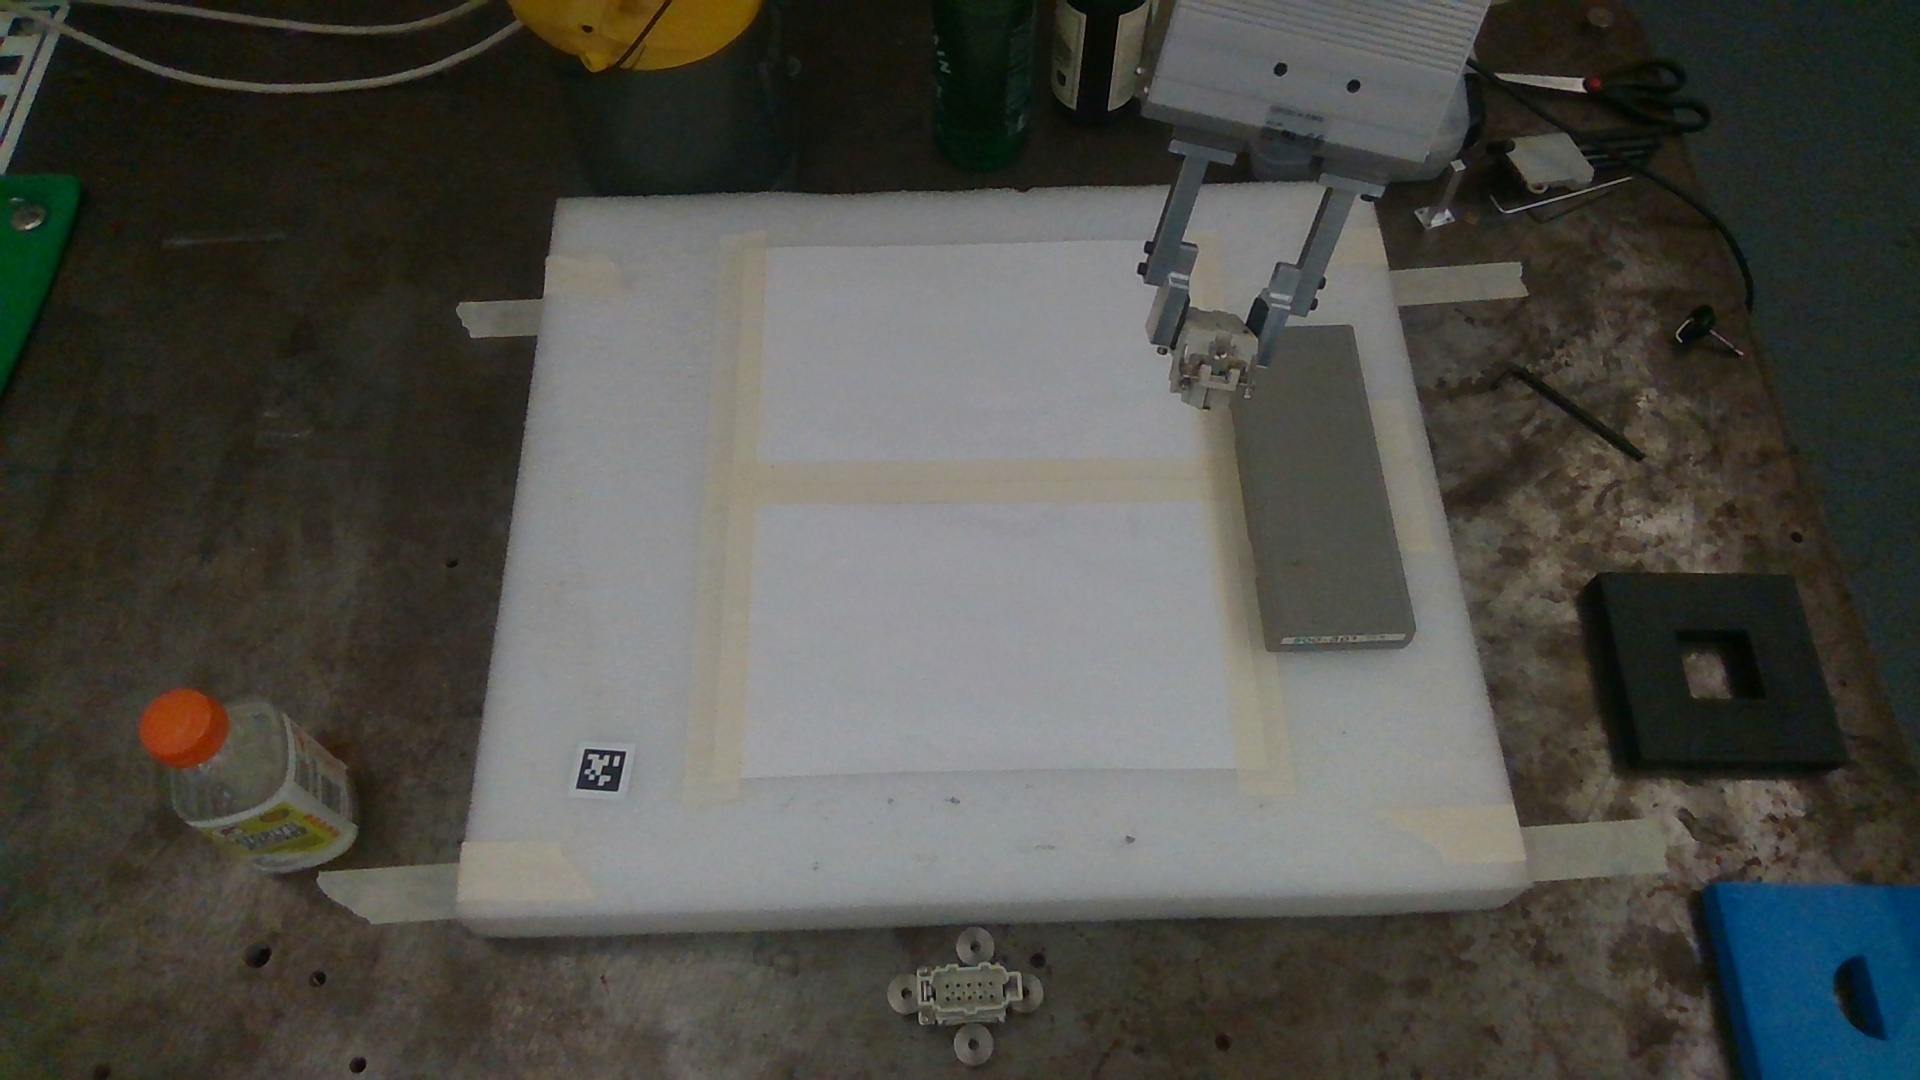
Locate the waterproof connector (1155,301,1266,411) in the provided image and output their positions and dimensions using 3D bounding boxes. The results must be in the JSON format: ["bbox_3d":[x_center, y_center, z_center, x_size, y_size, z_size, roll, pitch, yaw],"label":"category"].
[{"bbox_3d":[0.113,-0.085,0.638,0.036,0.038,0.069,10,20,-9],"label":"waterproof connector"}]
